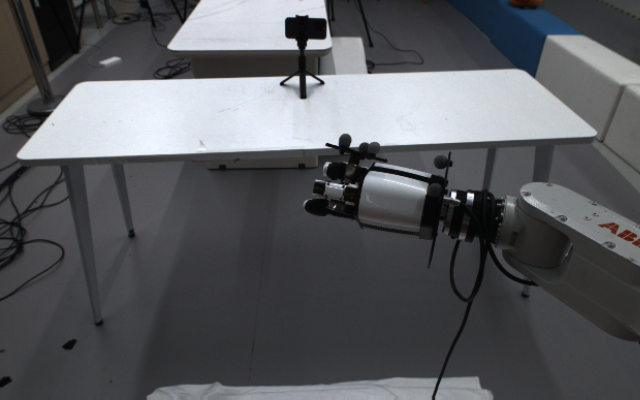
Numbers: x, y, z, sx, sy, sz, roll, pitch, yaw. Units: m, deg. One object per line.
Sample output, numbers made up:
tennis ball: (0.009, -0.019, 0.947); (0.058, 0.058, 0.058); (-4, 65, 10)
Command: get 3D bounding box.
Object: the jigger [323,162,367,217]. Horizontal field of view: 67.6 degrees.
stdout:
jigger: (0.038, -0.018, 0.678); (0.043, 0.071, 0.043); (17, 2, -1)
